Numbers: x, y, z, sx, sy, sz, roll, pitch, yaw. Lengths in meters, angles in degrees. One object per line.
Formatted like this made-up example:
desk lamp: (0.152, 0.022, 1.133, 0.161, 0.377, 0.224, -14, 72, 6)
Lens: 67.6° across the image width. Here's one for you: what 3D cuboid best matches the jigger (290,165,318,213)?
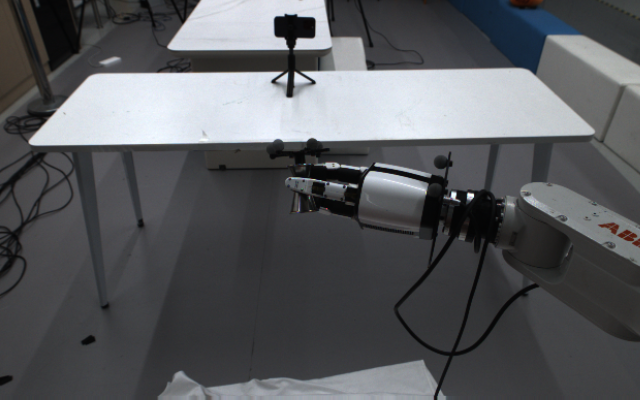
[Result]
jigger: (-0.026, -0.017, 0.691, 0.043, 0.071, 0.043, -4, 1, 0)
